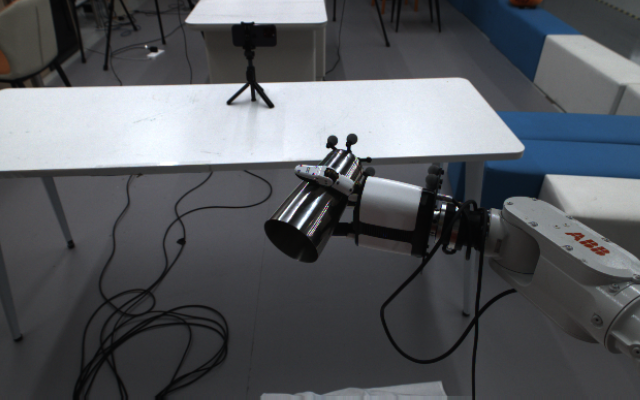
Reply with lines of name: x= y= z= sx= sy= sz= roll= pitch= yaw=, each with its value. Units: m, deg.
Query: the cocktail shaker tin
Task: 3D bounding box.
cocktail shaker tin: x=0.002 y=-0.002 z=0.734 sx=0.093 sy=0.093 sz=0.170 roll=19 pitch=55 yaw=23
